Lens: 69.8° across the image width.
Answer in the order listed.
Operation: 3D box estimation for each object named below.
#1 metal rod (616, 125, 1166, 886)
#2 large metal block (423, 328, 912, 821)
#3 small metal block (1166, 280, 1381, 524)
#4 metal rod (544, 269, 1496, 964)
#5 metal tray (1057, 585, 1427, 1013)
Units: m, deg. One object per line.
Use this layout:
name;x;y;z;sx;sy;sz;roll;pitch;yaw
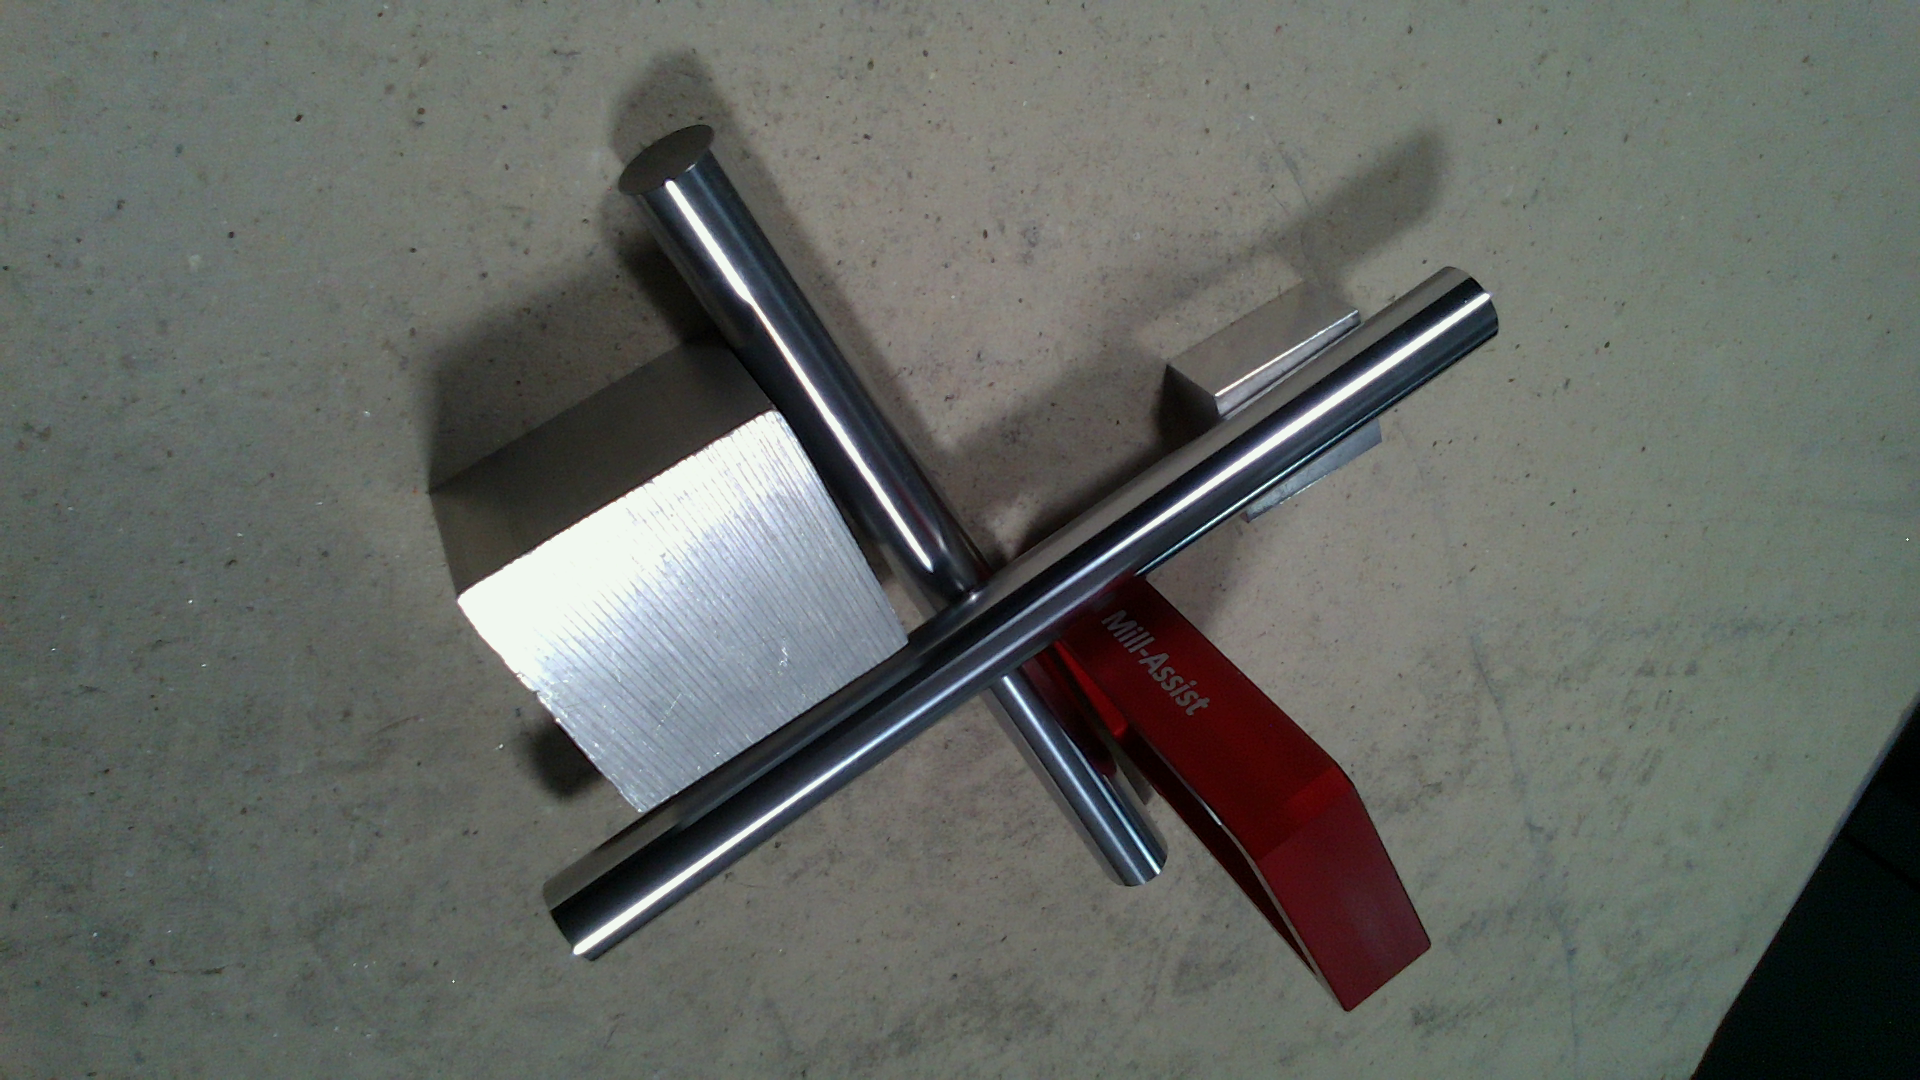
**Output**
metal rod;-0.002;0.014;0.398;0.025;0.025;0.301;-36;129;-4
large metal block;-0.070;0.008;0.339;0.080;0.050;0.080;-32;129;-7
small metal block;0.096;-0.041;0.415;0.050;0.025;0.050;-31;129;-8
metal rod;0.021;0.017;0.379;0.300;0.025;0.025;-34;129;-6
metal tray;0.072;0.062;0.398;0.030;0.130;0.090;-36;129;-3
